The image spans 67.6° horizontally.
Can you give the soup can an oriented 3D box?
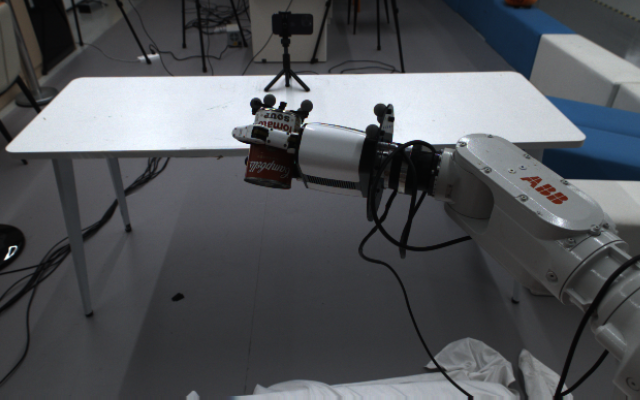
[{"bbox_3d":[-0.066,-0.071,0.684,0.067,0.101,0.067,9,-6,1],"label":"soup can"}]
